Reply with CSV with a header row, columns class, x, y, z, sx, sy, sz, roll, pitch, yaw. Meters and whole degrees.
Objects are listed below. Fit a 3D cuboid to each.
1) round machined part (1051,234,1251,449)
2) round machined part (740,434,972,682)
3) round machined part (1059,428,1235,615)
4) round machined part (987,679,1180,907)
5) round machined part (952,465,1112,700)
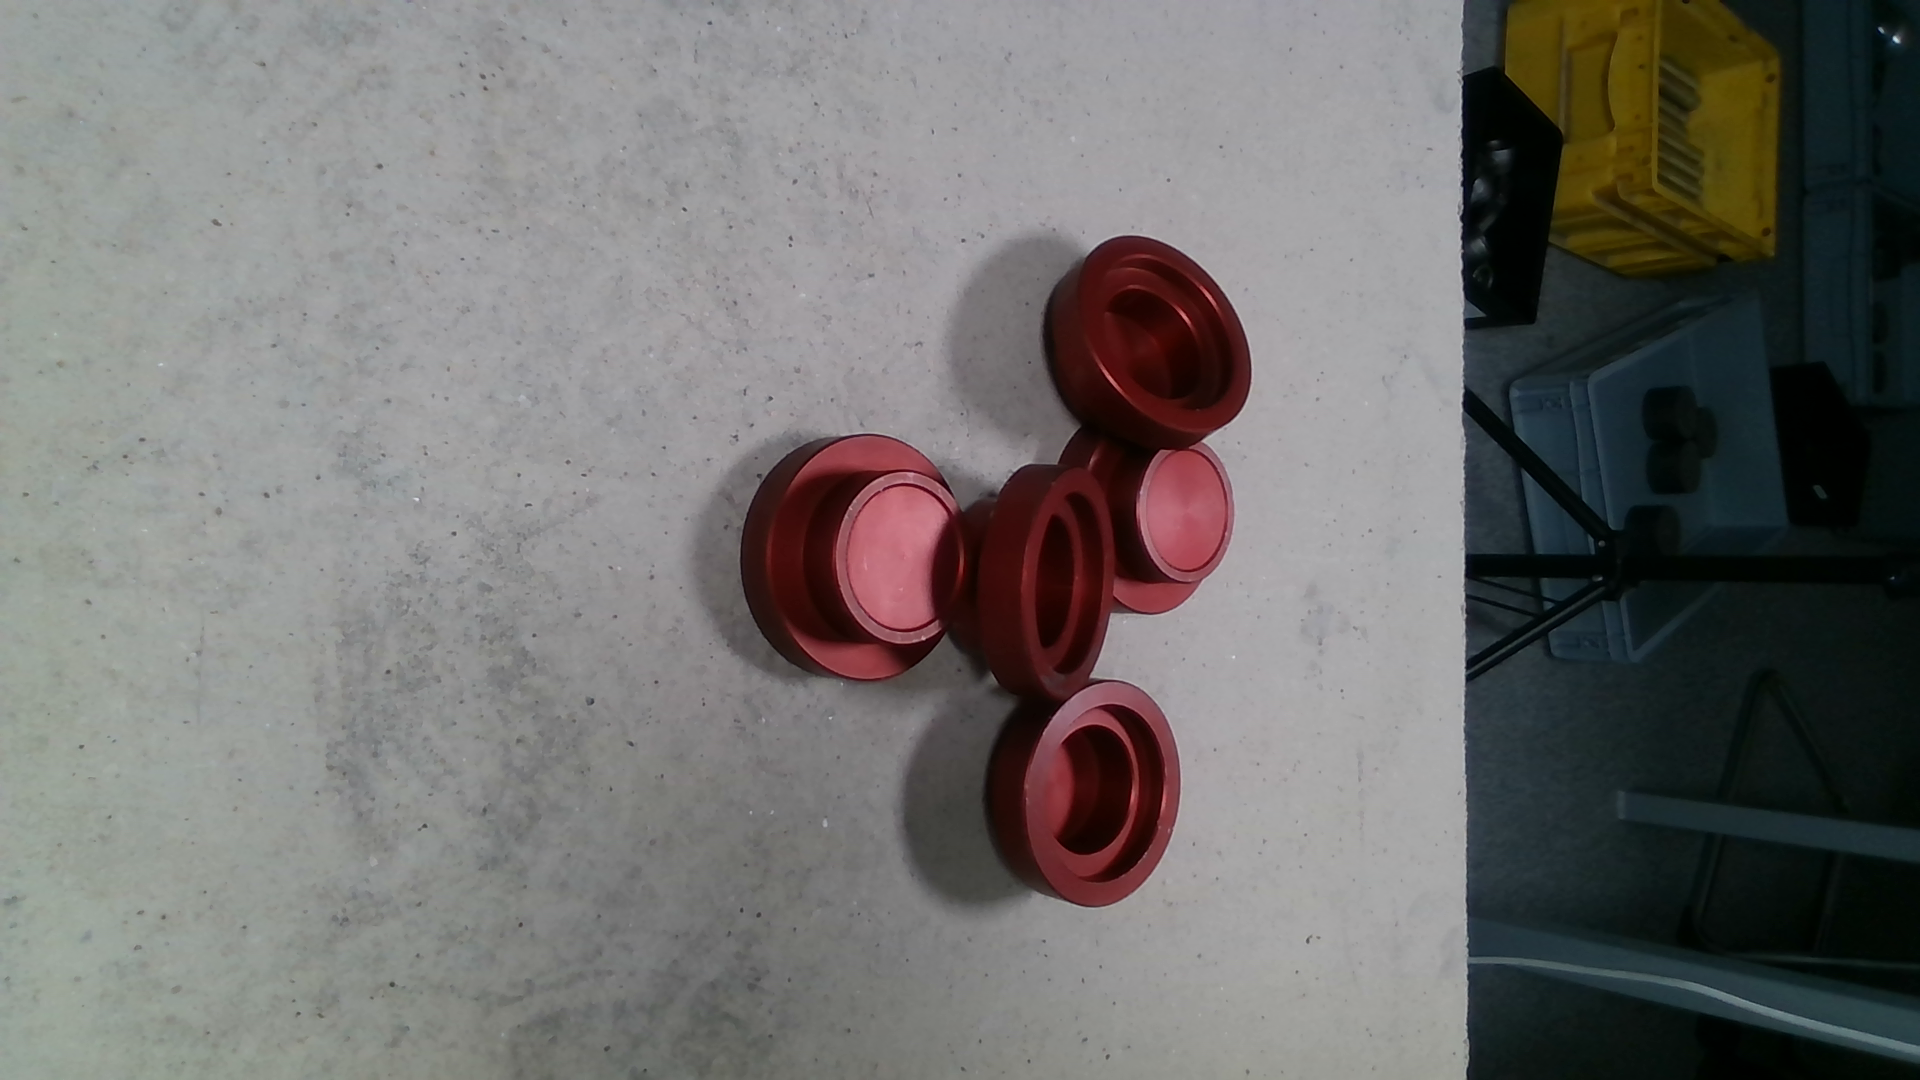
class,x,y,z,sx,sy,sz,roll,pitch,yaw
round machined part,0.082,-0.086,0.627,0.098,0.042,0.098,14,62,-27
round machined part,-0.034,0.007,0.543,0.098,0.042,0.098,0,90,-40
round machined part,0.092,-0.014,0.649,0.098,0.042,0.098,0,90,-40
round machined part,0.051,0.110,0.615,0.098,0.042,0.098,0,90,-40
round machined part,0.028,0.017,0.582,0.098,0.042,0.098,-10,101,-63
